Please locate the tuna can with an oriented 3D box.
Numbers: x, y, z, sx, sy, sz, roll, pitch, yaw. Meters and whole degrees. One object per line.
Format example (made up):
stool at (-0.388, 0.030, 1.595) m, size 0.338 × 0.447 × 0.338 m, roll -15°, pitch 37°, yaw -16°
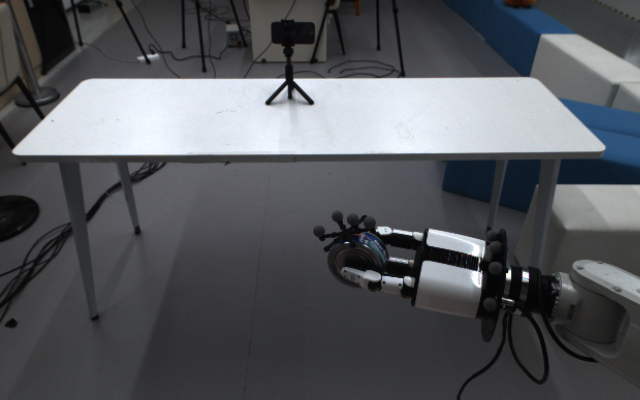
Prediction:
tuna can at (0.059, 0.094, 0.708) m, size 0.085 × 0.085 × 0.034 m, roll 11°, pitch 34°, yaw 13°
